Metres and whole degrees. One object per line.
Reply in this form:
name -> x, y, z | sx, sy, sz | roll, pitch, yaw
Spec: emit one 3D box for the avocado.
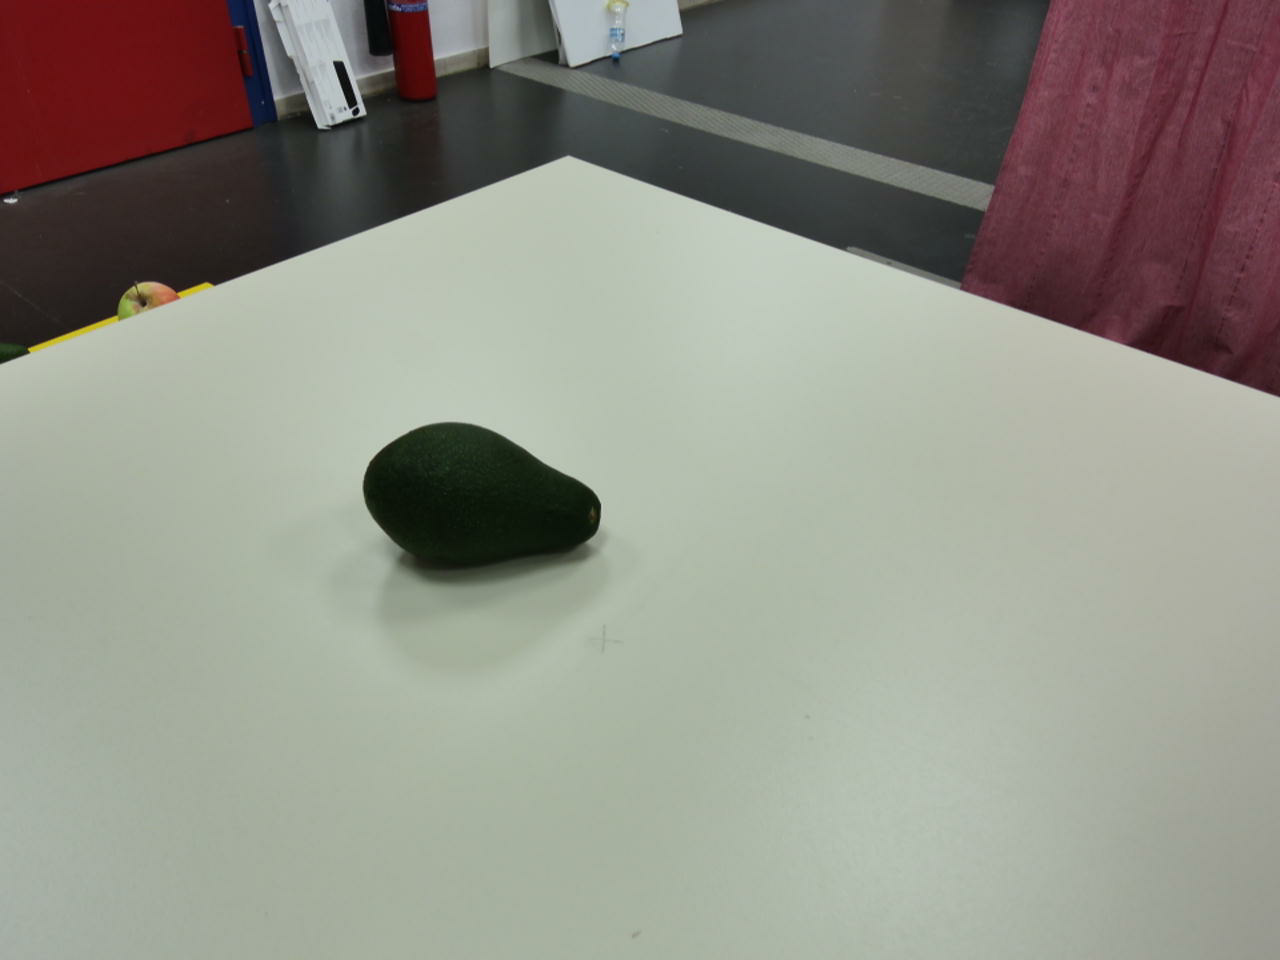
avocado -> -0.079, 0.008, 0.494 | 0.110, 0.071, 0.072 | 11, 38, 13
